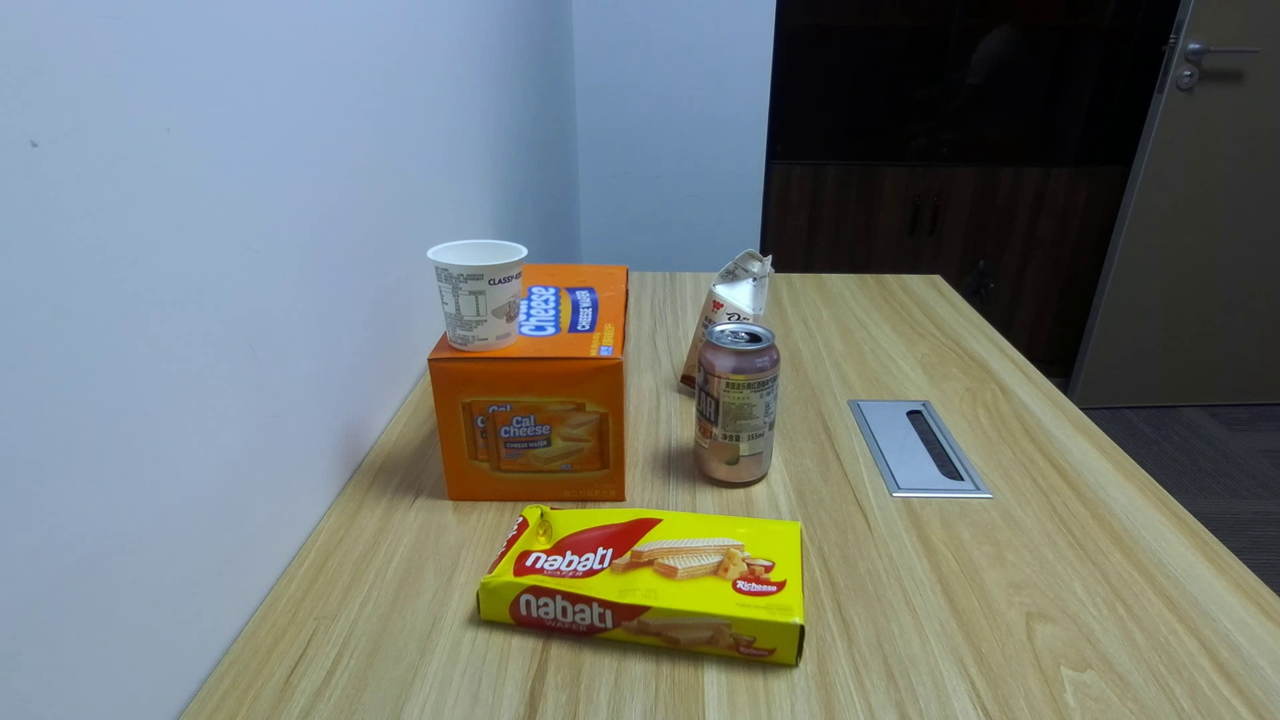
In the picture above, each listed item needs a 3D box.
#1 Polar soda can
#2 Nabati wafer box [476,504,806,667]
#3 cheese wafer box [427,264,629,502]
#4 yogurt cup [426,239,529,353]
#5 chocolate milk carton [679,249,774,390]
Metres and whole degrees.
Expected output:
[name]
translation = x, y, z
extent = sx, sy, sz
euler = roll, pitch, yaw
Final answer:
[Polar soda can]
translation = 0.078, 0.036, 0.577
extent = 0.067, 0.125, 0.067
euler = 0, 24, 0
[Nabati wafer box]
translation = 0.004, 0.138, 0.462
extent = 0.203, 0.042, 0.096
euler = 4, 28, 11
[cheese wafer box]
translation = -0.083, 0.011, 0.633
extent = 0.148, 0.129, 0.221
euler = 1, 25, 0
[yogurt cup]
translation = -0.119, -0.048, 0.527
extent = 0.072, 0.068, 0.072
euler = 1, 23, 0
[chocolate milk carton]
translation = 0.098, -0.033, 0.698
extent = 0.076, 0.155, 0.089
euler = 20, 16, 30
